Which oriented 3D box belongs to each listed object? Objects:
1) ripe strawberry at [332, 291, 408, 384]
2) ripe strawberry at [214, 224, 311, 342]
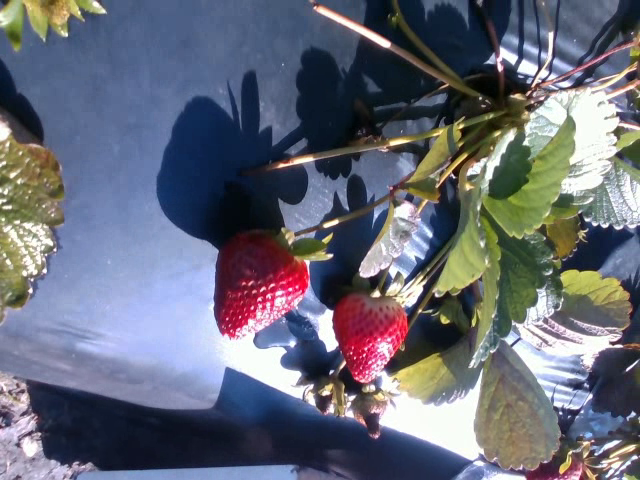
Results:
[{"bbox_3d":[0.024,0.049,0.290,0.042,0.049,0.039,10,-1,3],"label":"ripe strawberry"},{"bbox_3d":[-0.030,0.022,0.248,0.044,0.050,0.051,19,-17,37],"label":"ripe strawberry"}]
